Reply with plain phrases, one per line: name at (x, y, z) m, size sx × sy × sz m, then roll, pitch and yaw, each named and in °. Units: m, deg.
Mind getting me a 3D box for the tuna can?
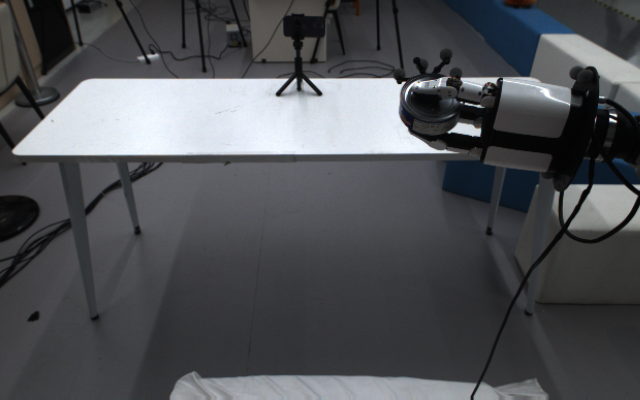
tuna can at (0.151, -0.131, 0.661) m, size 0.085 × 0.034 × 0.085 m, roll -2°, pitch 58°, yaw 3°
